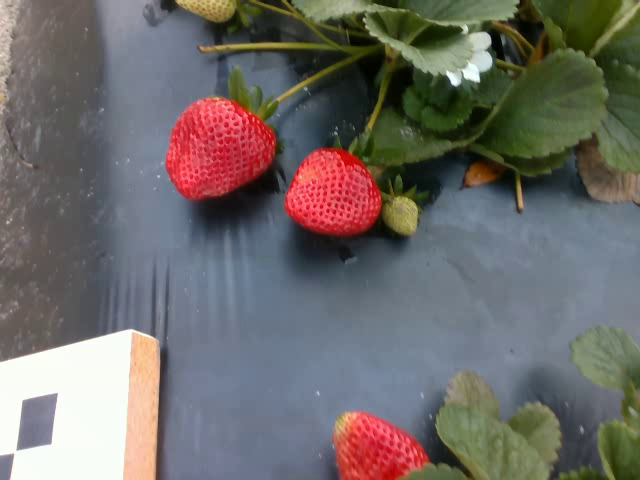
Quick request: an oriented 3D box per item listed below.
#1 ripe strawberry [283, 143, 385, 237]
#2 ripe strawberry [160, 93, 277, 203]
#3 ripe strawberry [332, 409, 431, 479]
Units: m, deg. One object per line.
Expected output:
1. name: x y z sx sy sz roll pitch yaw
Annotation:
1. ripe strawberry: 0.002 -0.022 0.295 0.051 0.051 0.059 6 25 37
2. ripe strawberry: -0.059 -0.045 0.308 0.058 0.065 0.044 13 -30 39
3. ripe strawberry: 0.020 0.087 0.240 0.047 0.053 0.038 -39 -2 17
